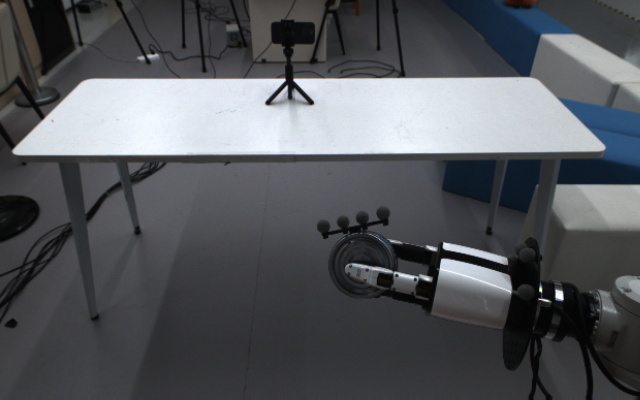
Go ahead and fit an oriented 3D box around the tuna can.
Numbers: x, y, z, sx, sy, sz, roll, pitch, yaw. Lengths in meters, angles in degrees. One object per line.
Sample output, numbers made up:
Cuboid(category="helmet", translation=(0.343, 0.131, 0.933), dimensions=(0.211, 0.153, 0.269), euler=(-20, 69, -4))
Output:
Cuboid(category="tuna can", translation=(0.058, 0.080, 0.617), dimensions=(0.085, 0.085, 0.034), euler=(12, 3, 14))
